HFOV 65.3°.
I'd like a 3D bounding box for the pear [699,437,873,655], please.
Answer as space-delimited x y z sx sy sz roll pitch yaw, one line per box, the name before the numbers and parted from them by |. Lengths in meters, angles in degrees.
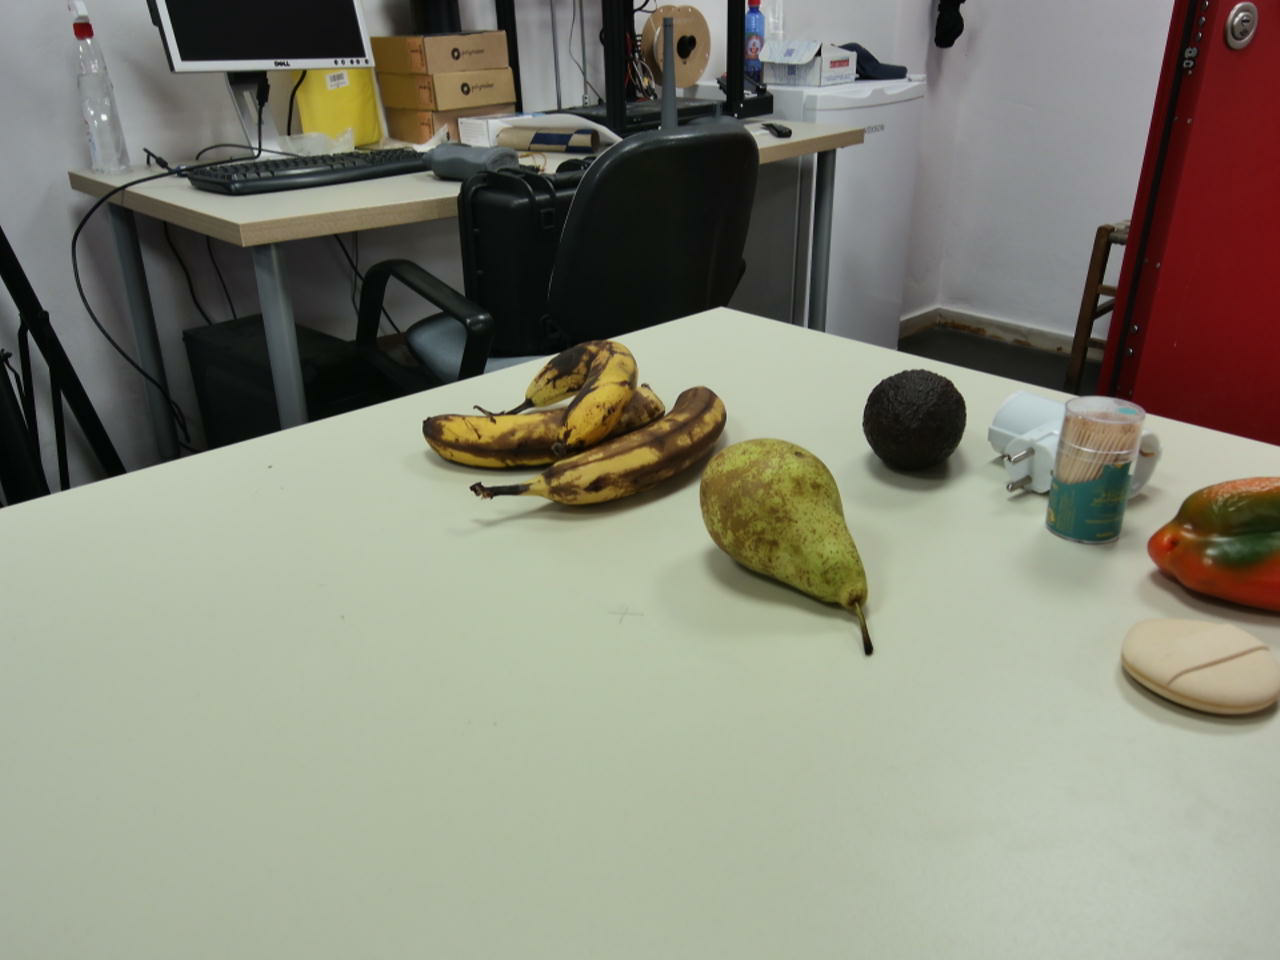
pear | 0.085 0.022 0.527 0.128 0.075 0.071 21 30 36
